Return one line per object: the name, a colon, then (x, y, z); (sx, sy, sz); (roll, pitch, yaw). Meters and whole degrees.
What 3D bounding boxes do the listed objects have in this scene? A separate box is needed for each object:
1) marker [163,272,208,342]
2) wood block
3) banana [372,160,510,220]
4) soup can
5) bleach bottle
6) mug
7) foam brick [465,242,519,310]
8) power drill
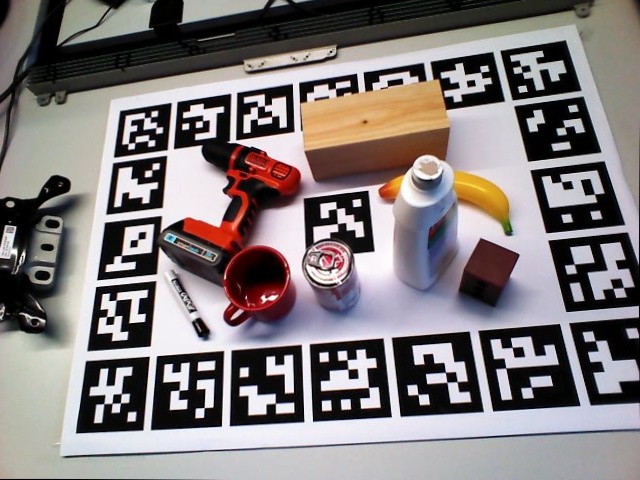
marker: (-0.196, 0.097, 0.753); (0.019, 0.019, 0.121); (-35, 65, -3)
wood block: (0.087, -0.159, 0.771); (0.207, 0.091, 0.089); (-7, 66, 8)
banana: (0.175, -0.079, 0.742); (0.198, 0.039, 0.074); (9, 82, 13)
soup can: (0.017, 0.046, 0.679); (0.068, 0.102, 0.067); (-4, 61, 7)
bleach bottle: (0.127, -0.024, 0.612); (0.068, 0.251, 0.102); (22, 71, 20)
mug: (-0.087, 0.068, 0.706); (0.093, 0.081, 0.117); (37, 80, 21)
foam brick: (0.222, 0.045, 0.660); (0.053, 0.078, 0.051); (26, 71, 23)
power drill: (-0.137, -0.051, 0.790); (0.185, 0.057, 0.186); (22, 71, 16)
